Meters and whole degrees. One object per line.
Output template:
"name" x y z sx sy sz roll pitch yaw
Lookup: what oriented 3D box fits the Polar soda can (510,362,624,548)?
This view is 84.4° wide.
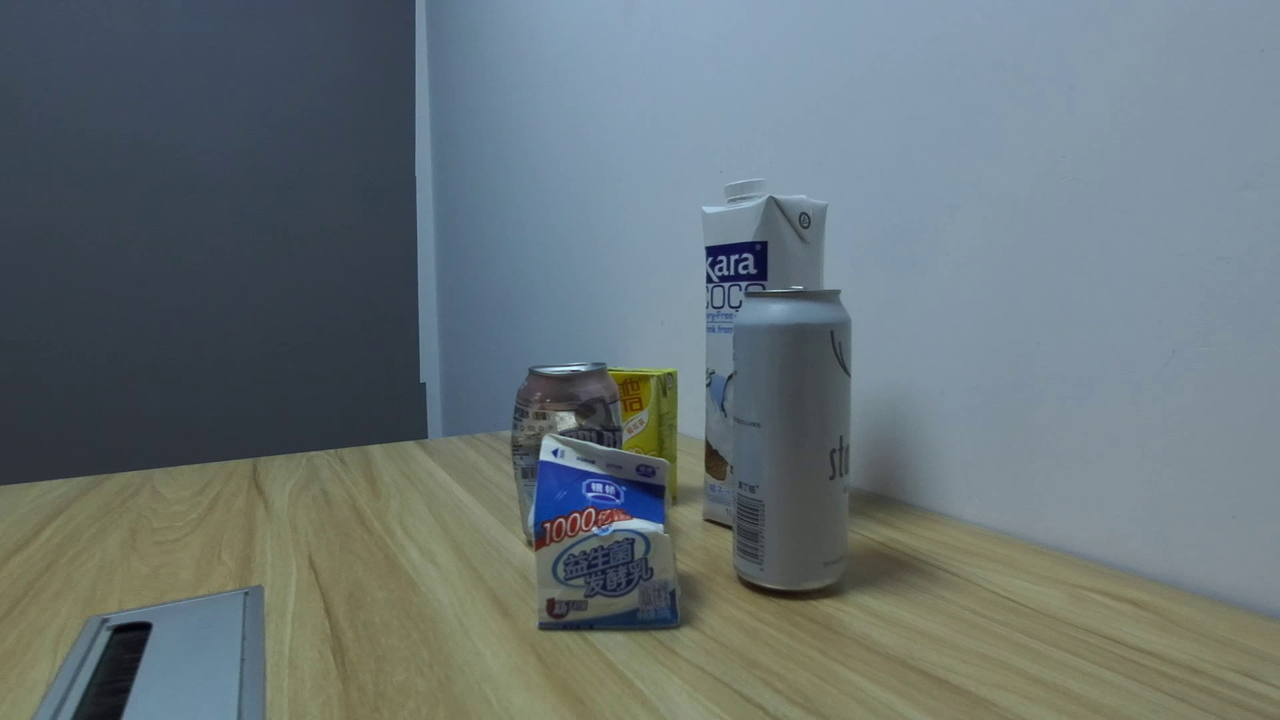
"Polar soda can" -0.046 0.066 0.486 0.074 0.121 0.067 -4 -1 34

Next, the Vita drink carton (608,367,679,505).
"Vita drink carton" -0.005 0.061 0.577 0.066 0.109 0.044 3 6 24

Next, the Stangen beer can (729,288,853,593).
"Stangen beer can" 0.088 0.045 0.411 0.067 0.171 0.067 0 4 0

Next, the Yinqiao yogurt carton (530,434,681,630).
"Yinqiao yogurt carton" -0.019 0.086 0.386 0.083 0.093 0.077 -1 6 2
